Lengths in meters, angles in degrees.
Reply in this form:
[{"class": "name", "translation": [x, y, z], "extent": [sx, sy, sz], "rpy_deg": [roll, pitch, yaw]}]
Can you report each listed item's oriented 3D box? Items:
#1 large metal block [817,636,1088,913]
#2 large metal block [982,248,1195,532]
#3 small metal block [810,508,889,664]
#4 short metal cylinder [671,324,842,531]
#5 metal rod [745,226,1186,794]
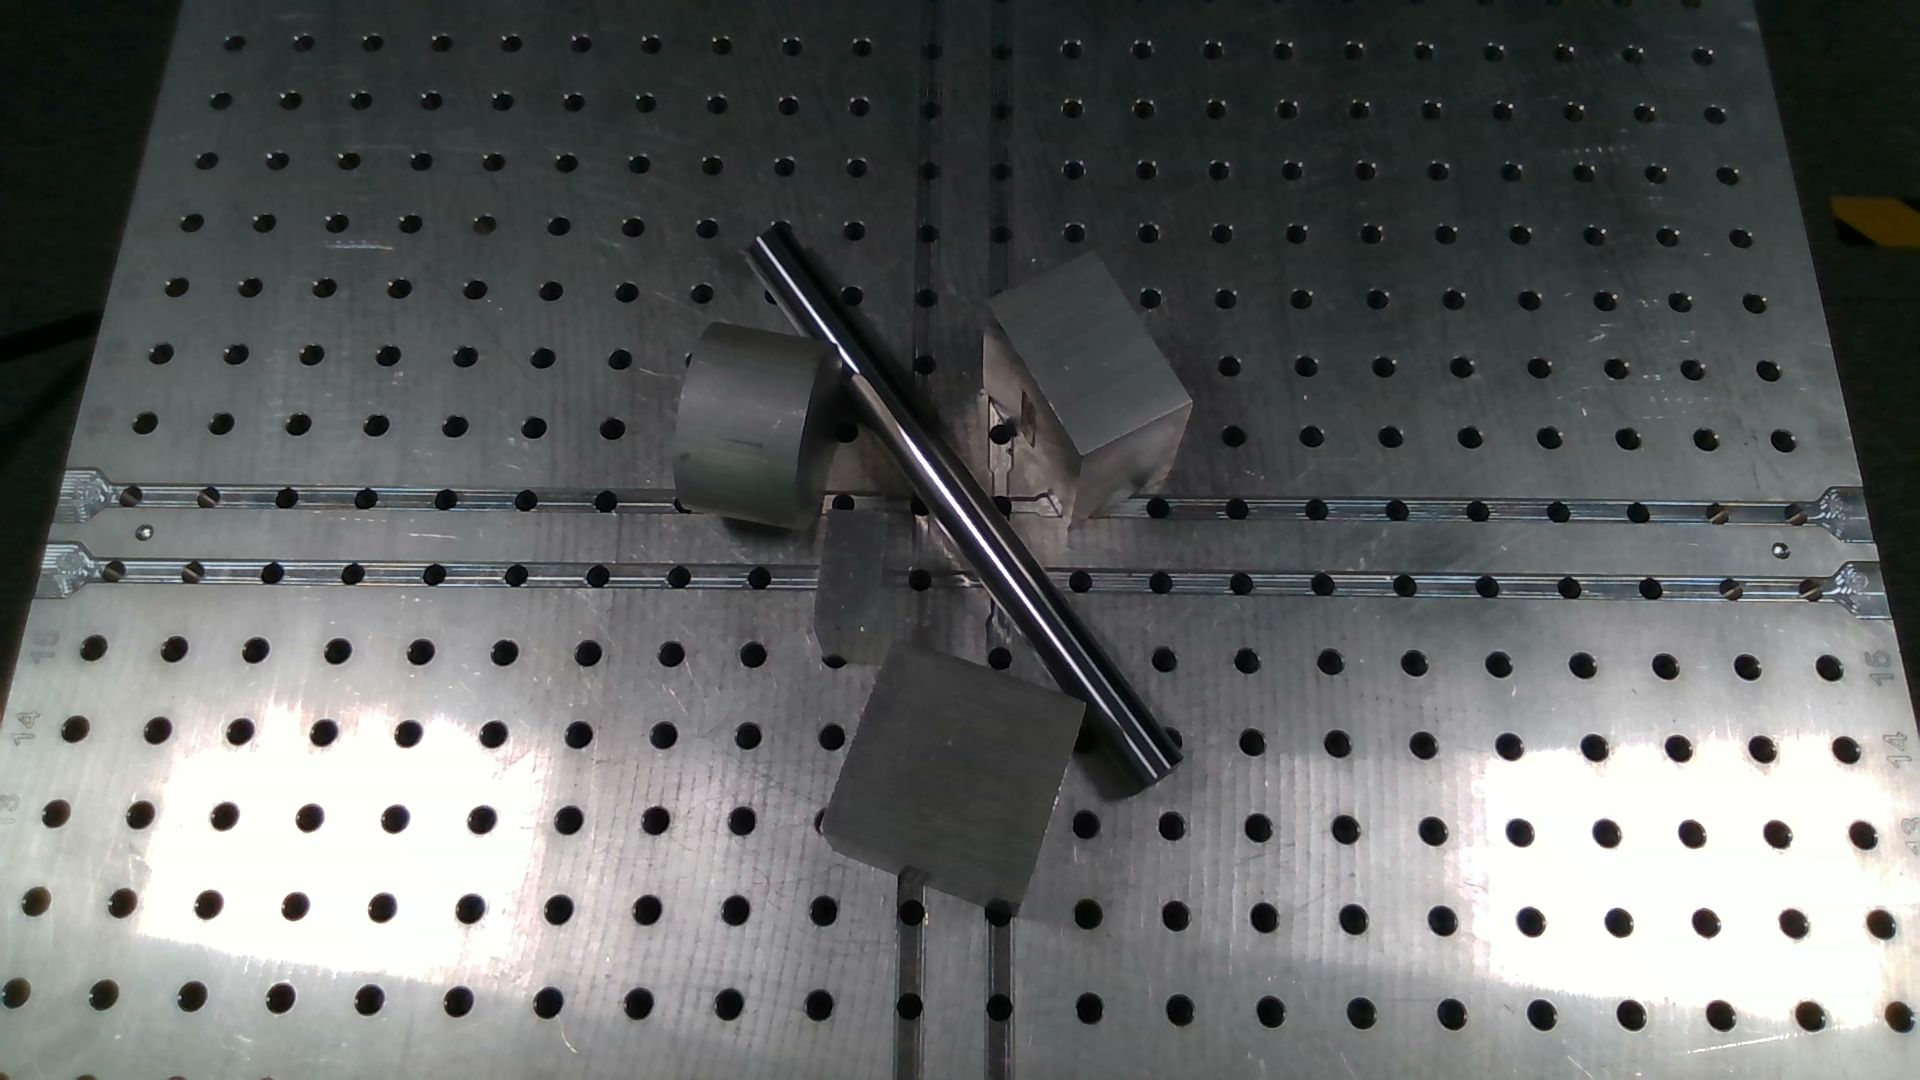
[{"class": "large metal block", "translation": [-0.002, 0.094, 0.541], "extent": [0.080, 0.050, 0.080], "rpy_deg": [18, 71, 6]}, {"class": "large metal block", "translation": [0.051, -0.062, 0.584], "extent": [0.050, 0.080, 0.080], "rpy_deg": [-27, 72, -9]}, {"class": "small metal block", "translation": [-0.044, 0.020, 0.570], "extent": [0.025, 0.050, 0.050], "rpy_deg": [5, 70, 2]}, {"class": "short metal cylinder", "translation": [-0.084, -0.048, 0.578], "extent": [0.050, 0.080, 0.080], "rpy_deg": [11, 71, 4]}, {"class": "metal rod", "translation": [-0.004, -0.021, 0.597], "extent": [0.025, 0.025, 0.299], "rpy_deg": [-33, 74, -11]}]
